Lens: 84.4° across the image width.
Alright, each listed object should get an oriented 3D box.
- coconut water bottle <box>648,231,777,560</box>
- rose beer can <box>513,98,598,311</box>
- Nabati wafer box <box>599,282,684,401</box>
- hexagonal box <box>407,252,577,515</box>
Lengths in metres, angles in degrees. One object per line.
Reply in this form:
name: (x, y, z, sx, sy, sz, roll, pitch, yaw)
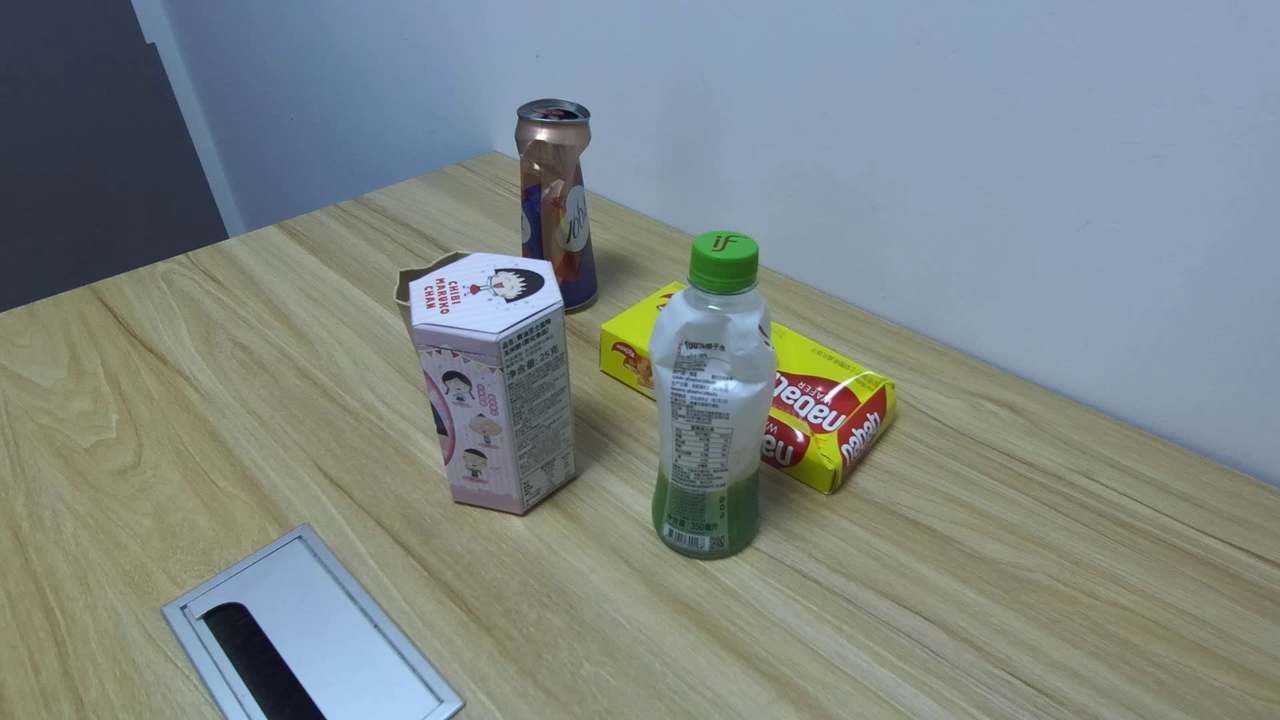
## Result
coconut water bottle: (0.040, 0.022, 0.372, 0.067, 0.187, 0.067, 0, 36, 0)
rose beer can: (-0.066, -0.120, 0.576, 0.065, 0.167, 0.076, 13, 34, 14)
Nabati wafer box: (0.074, 0.010, 0.510, 0.202, 0.042, 0.097, 29, 44, 31)
hexagonal box: (-0.085, 0.016, 0.423, 0.084, 0.136, 0.091, -10, 39, -14)
